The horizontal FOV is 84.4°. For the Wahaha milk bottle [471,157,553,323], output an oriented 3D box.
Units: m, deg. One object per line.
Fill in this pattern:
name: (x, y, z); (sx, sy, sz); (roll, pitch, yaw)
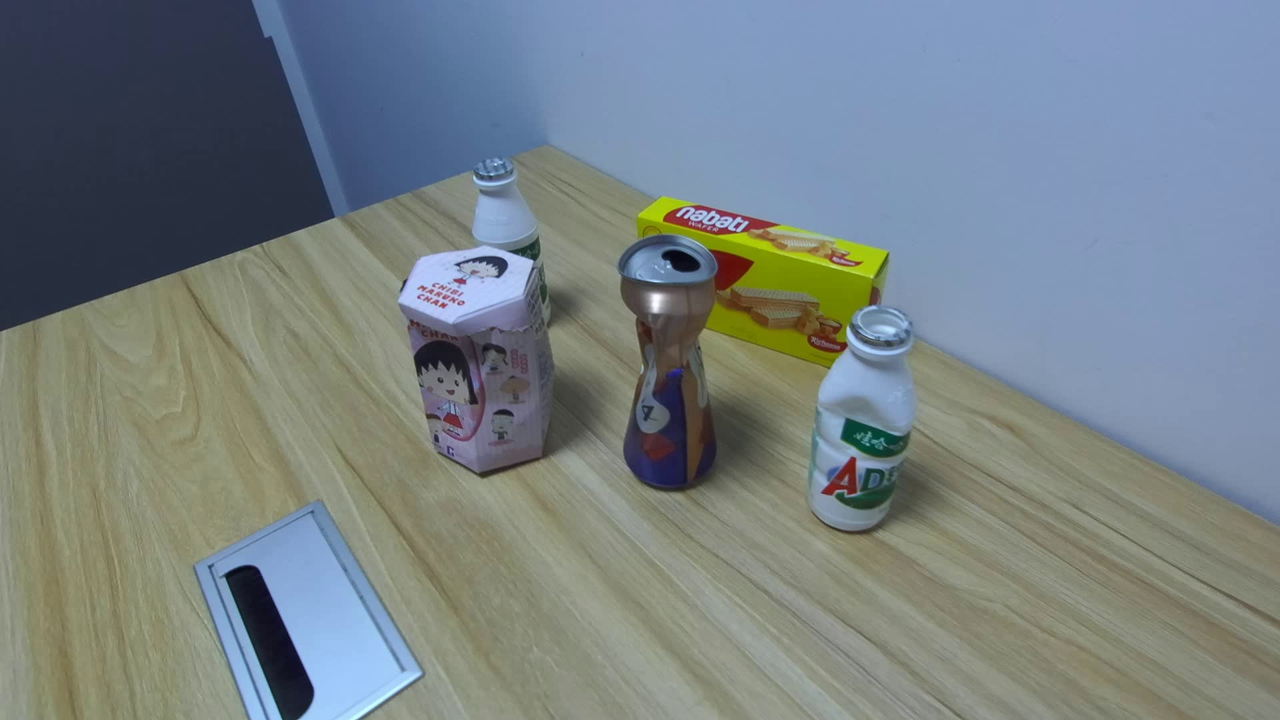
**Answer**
Wahaha milk bottle: (-0.109, -0.093, 0.589); (0.053, 0.147, 0.053); (-1, 42, 1)

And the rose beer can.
rose beer can: (0.017, 0.007, 0.444); (0.068, 0.162, 0.073); (-28, 46, -29)

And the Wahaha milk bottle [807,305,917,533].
Wahaha milk bottle: (0.128, 0.037, 0.407); (0.056, 0.148, 0.056); (-2, 41, 2)

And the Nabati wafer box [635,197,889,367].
Nabati wafer box: (0.092, -0.062, 0.572); (0.202, 0.093, 0.042); (20, 44, 26)

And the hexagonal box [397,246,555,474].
hexagonal box: (-0.108, -0.001, 0.486); (0.090, 0.134, 0.091); (-11, 39, -14)
